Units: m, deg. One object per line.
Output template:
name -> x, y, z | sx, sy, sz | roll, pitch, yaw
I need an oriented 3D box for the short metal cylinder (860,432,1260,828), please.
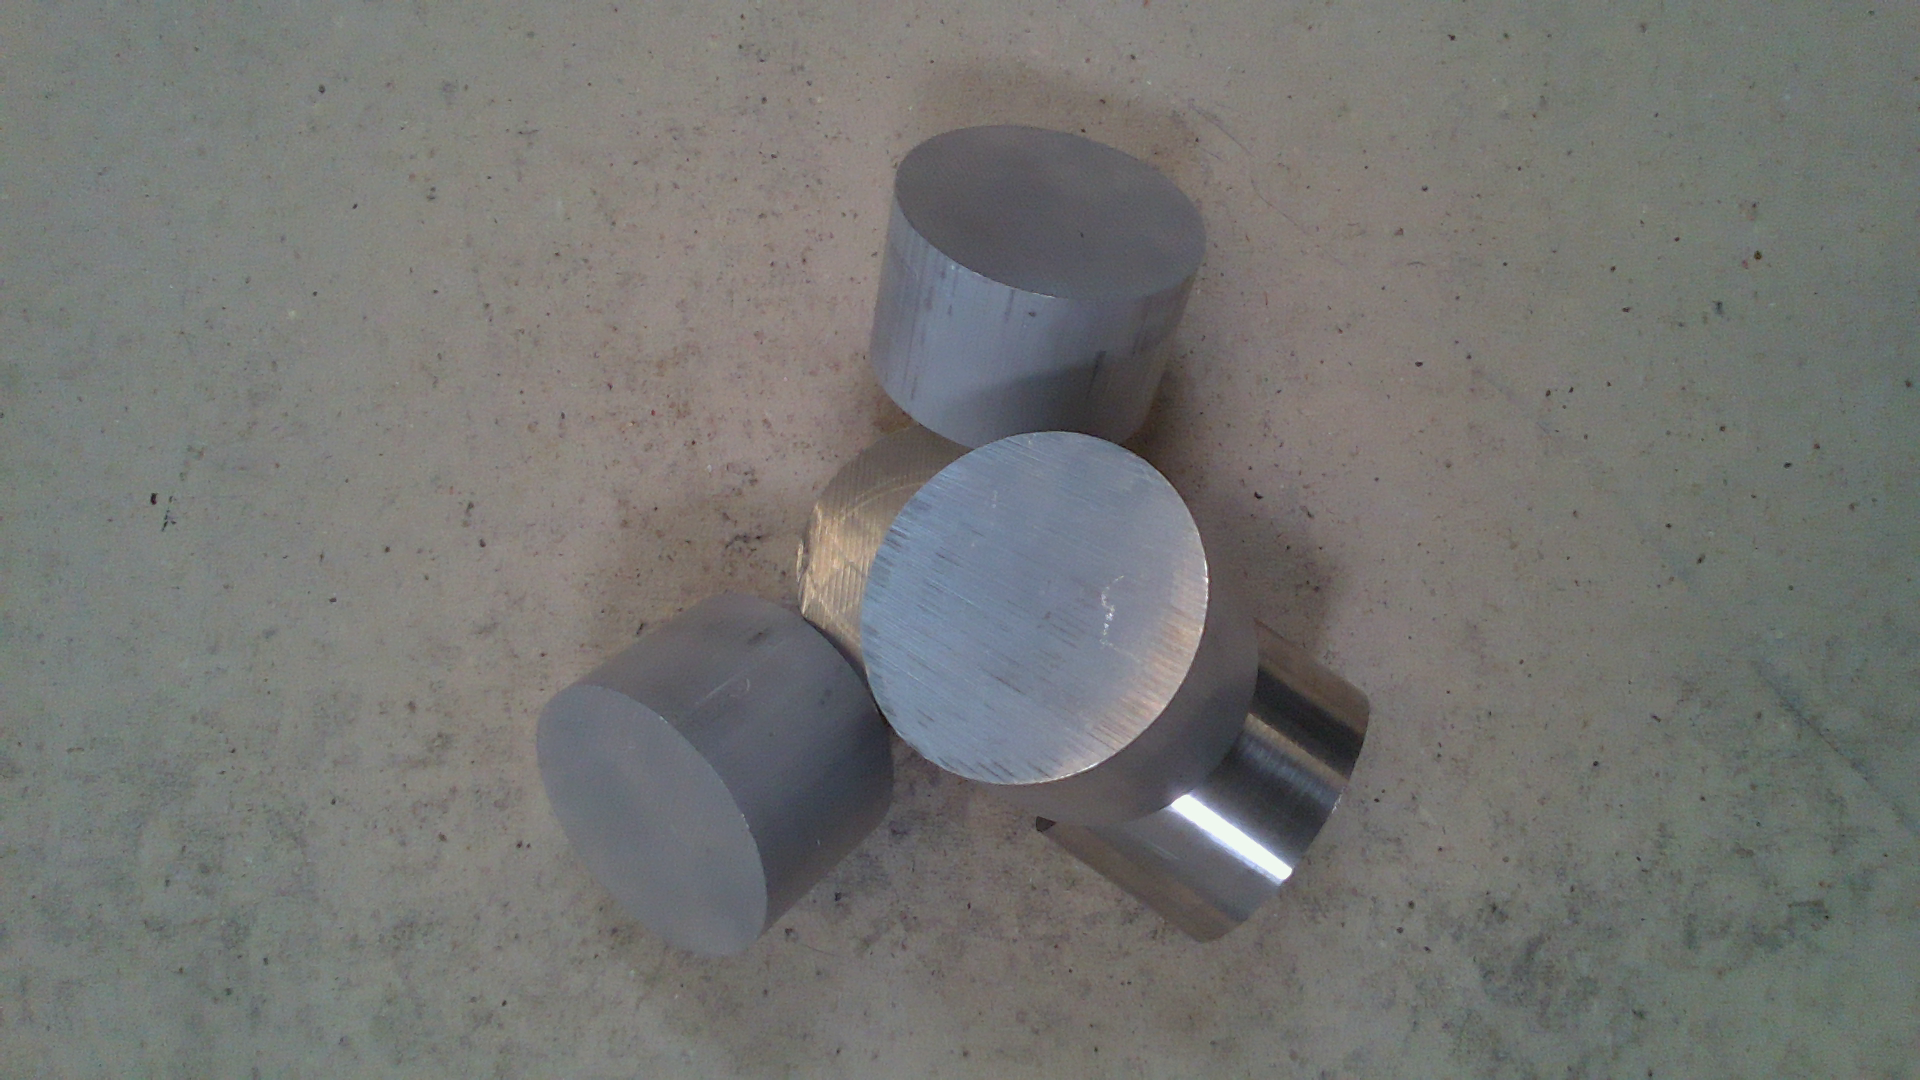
short metal cylinder -> 0.024, 0.022, 0.316 | 0.080, 0.050, 0.080 | -9, 67, 21

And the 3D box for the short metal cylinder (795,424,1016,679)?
short metal cylinder -> -0.003, 0.009, 0.383 | 0.080, 0.050, 0.080 | 0, 90, 0

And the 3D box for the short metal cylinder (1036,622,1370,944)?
short metal cylinder -> 0.064, 0.059, 0.368 | 0.050, 0.080, 0.080 | 35, 90, 0

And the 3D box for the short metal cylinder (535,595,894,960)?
short metal cylinder -> -0.065, 0.061, 0.362 | 0.080, 0.050, 0.080 | 19, 125, 29

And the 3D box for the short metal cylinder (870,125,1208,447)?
short metal cylinder -> 0.019, -0.066, 0.362 | 0.080, 0.080, 0.050 | 14, 134, 0
